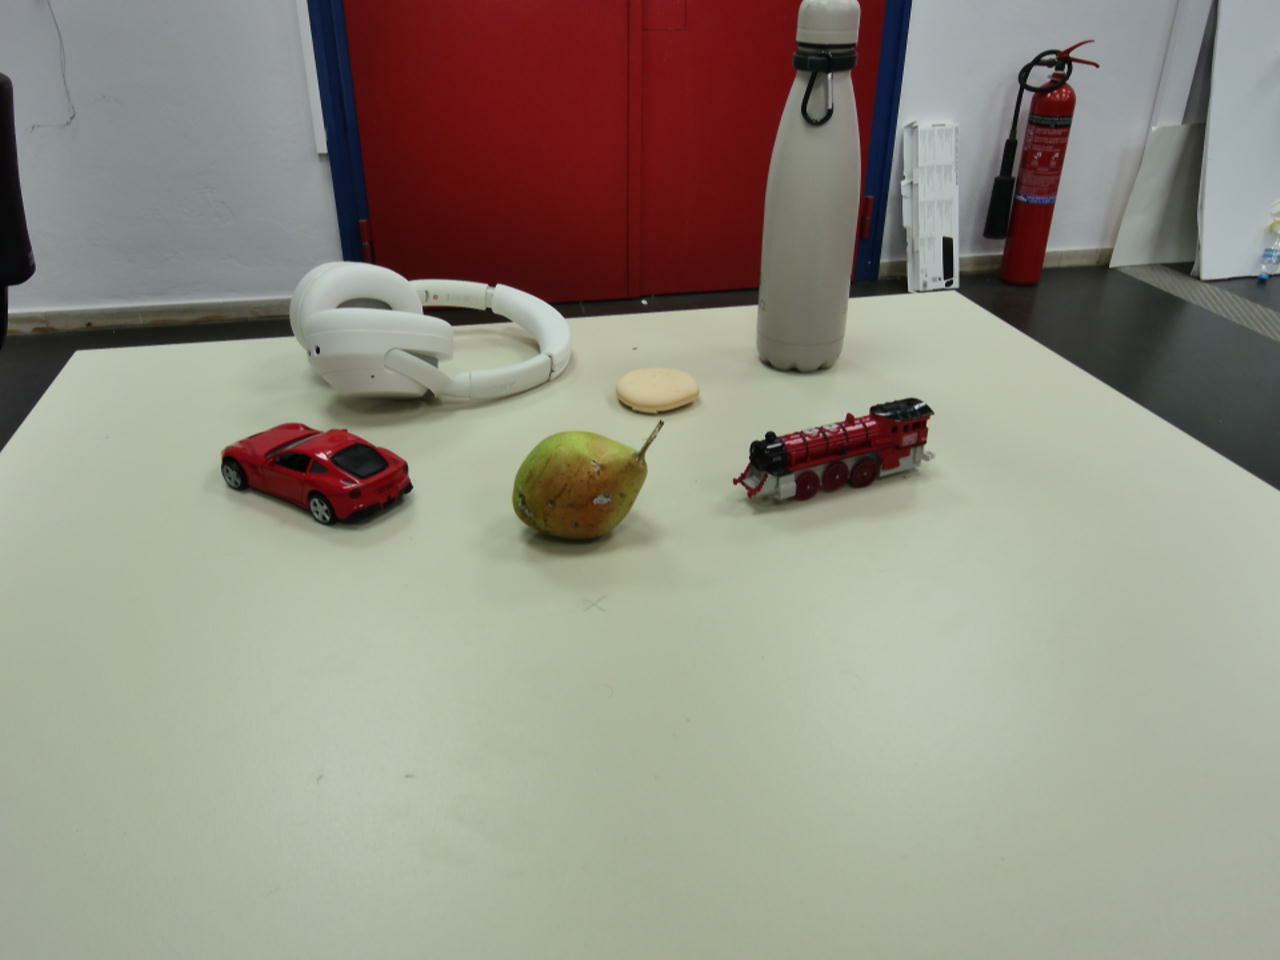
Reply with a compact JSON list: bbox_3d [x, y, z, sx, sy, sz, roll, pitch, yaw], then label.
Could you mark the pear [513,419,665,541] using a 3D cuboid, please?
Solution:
[{"bbox_3d":[-0.034,0.000,0.570,0.070,0.069,0.068,19,33,34],"label":"pear"}]
